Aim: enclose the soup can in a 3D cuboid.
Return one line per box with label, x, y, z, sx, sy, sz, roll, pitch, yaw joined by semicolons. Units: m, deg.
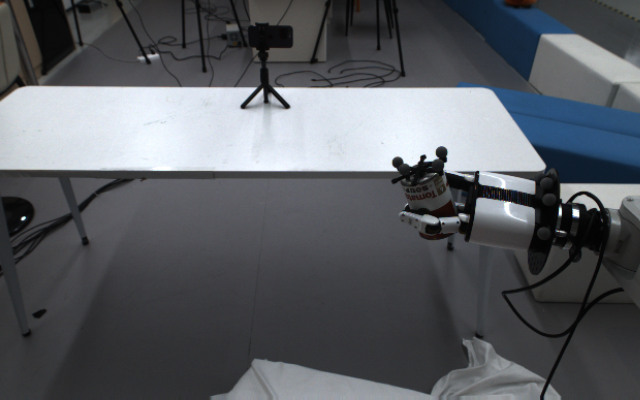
soup can;0.170;0.000;0.739;0.067;0.101;0.067;-22;24;10
